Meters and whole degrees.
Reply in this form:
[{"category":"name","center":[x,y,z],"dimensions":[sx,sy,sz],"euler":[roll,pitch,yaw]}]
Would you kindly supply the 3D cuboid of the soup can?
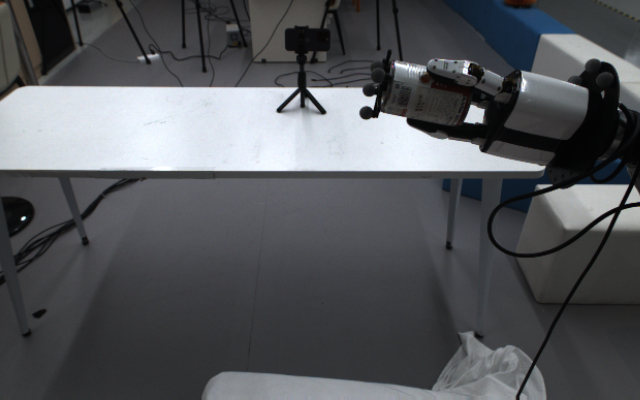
[{"category":"soup can","center":[0.133,-0.135,0.611],"dimensions":[0.101,0.067,0.067],"euler":[11,35,-2]}]
